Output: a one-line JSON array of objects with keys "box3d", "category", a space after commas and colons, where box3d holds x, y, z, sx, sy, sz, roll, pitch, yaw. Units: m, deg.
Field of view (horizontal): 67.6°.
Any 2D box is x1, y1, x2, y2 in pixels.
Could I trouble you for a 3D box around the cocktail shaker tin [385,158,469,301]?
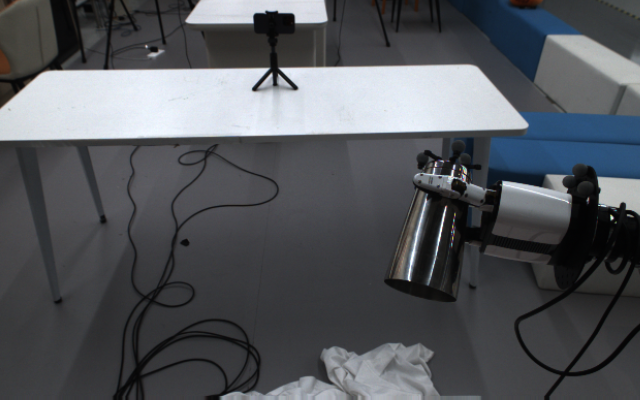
[{"box3d": [0.151, 0.035, 0.637, 0.093, 0.093, 0.170, 13, 71, 15], "category": "cocktail shaker tin"}]
